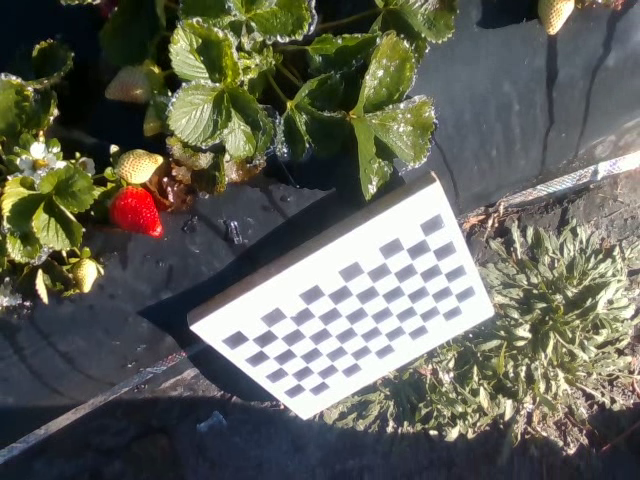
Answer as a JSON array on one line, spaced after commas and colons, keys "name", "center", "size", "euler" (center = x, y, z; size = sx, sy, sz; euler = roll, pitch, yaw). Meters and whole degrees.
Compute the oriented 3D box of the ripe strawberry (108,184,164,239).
[{"name": "ripe strawberry", "center": [-0.140, -0.018, 0.486], "size": [0.053, 0.040, 0.042], "euler": [42, 30, 23]}]
